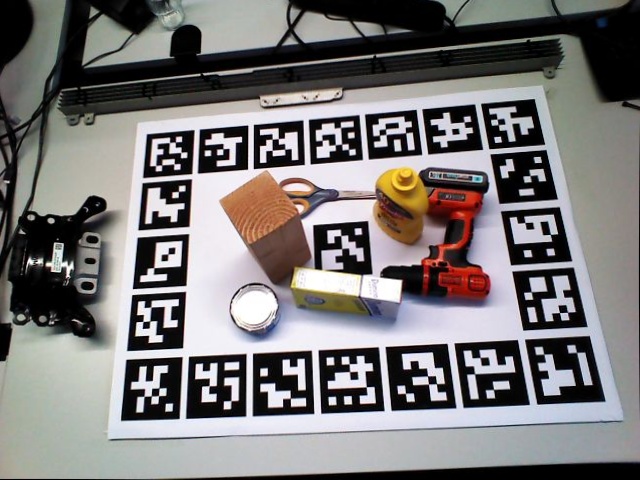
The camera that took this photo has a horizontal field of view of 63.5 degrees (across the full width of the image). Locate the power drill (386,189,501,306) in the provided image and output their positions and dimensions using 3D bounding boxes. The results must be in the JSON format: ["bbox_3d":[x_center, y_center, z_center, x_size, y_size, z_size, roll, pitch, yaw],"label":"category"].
[{"bbox_3d":[0.215,0.012,0.871,0.185,0.057,0.186,9,79,9],"label":"power drill"}]

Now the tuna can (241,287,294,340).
[{"bbox_3d":[-0.088,0.125,0.873,0.086,0.034,0.085,-2,71,5],"label":"tuna can"}]

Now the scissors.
[{"bbox_3d":[0.027,-0.073,0.943,0.203,0.016,0.087,-2,66,6],"label":"scissors"}]

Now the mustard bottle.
[{"bbox_3d":[0.160,-0.052,0.837,0.058,0.192,0.096,-42,73,-9],"label":"mustard bottle"}]

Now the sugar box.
[{"bbox_3d":[0.075,0.098,0.839,0.177,0.093,0.045,8,68,7],"label":"sugar box"}]

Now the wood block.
[{"bbox_3d":[-0.058,-0.004,0.837,0.091,0.206,0.090,-31,71,-5],"label":"wood block"}]
